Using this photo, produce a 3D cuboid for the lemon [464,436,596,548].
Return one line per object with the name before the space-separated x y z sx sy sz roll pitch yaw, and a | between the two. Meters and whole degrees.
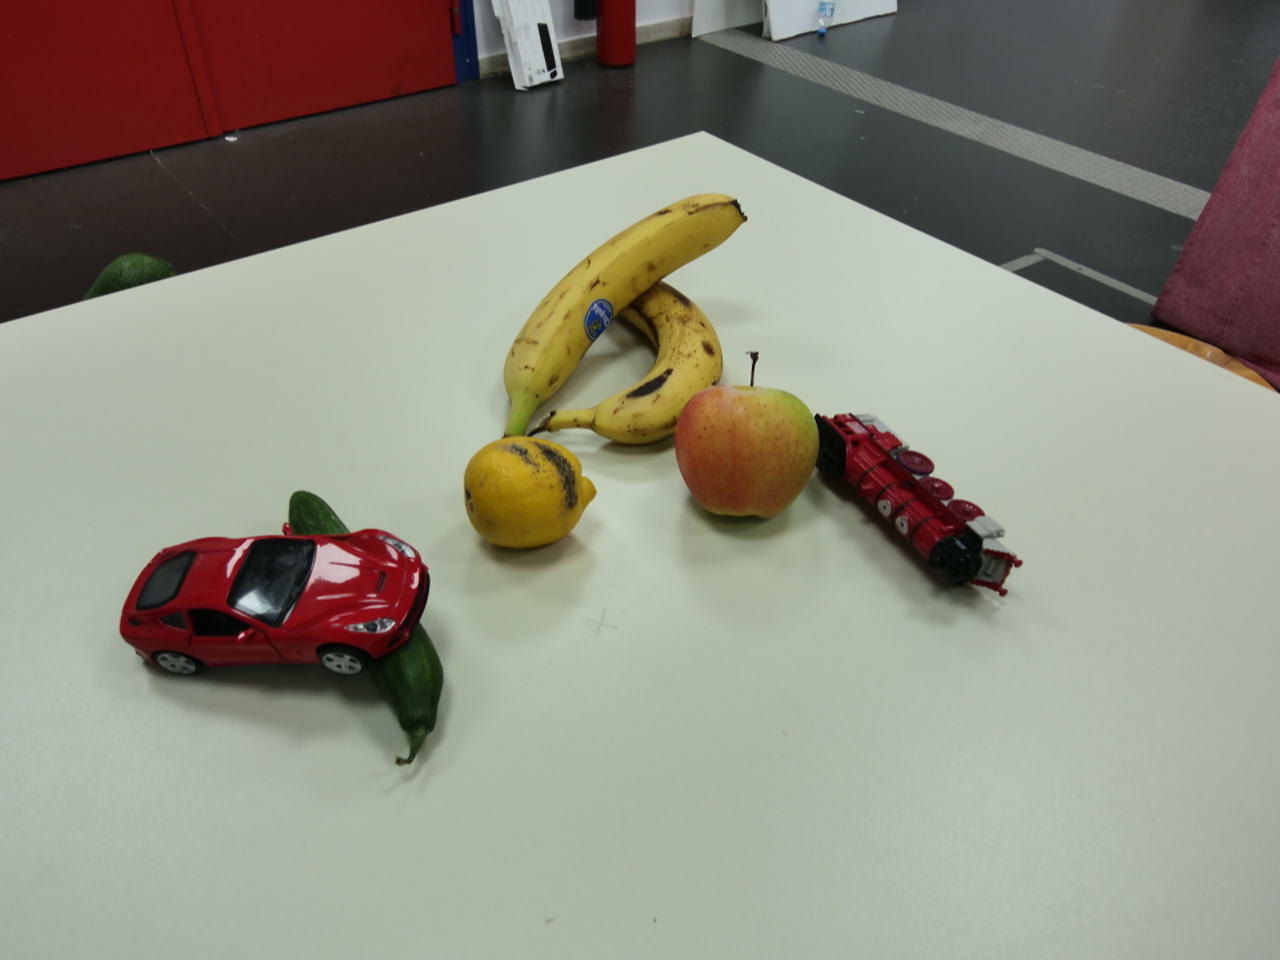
lemon | -0.058 0.006 0.501 0.058 0.056 0.061 31 47 33
